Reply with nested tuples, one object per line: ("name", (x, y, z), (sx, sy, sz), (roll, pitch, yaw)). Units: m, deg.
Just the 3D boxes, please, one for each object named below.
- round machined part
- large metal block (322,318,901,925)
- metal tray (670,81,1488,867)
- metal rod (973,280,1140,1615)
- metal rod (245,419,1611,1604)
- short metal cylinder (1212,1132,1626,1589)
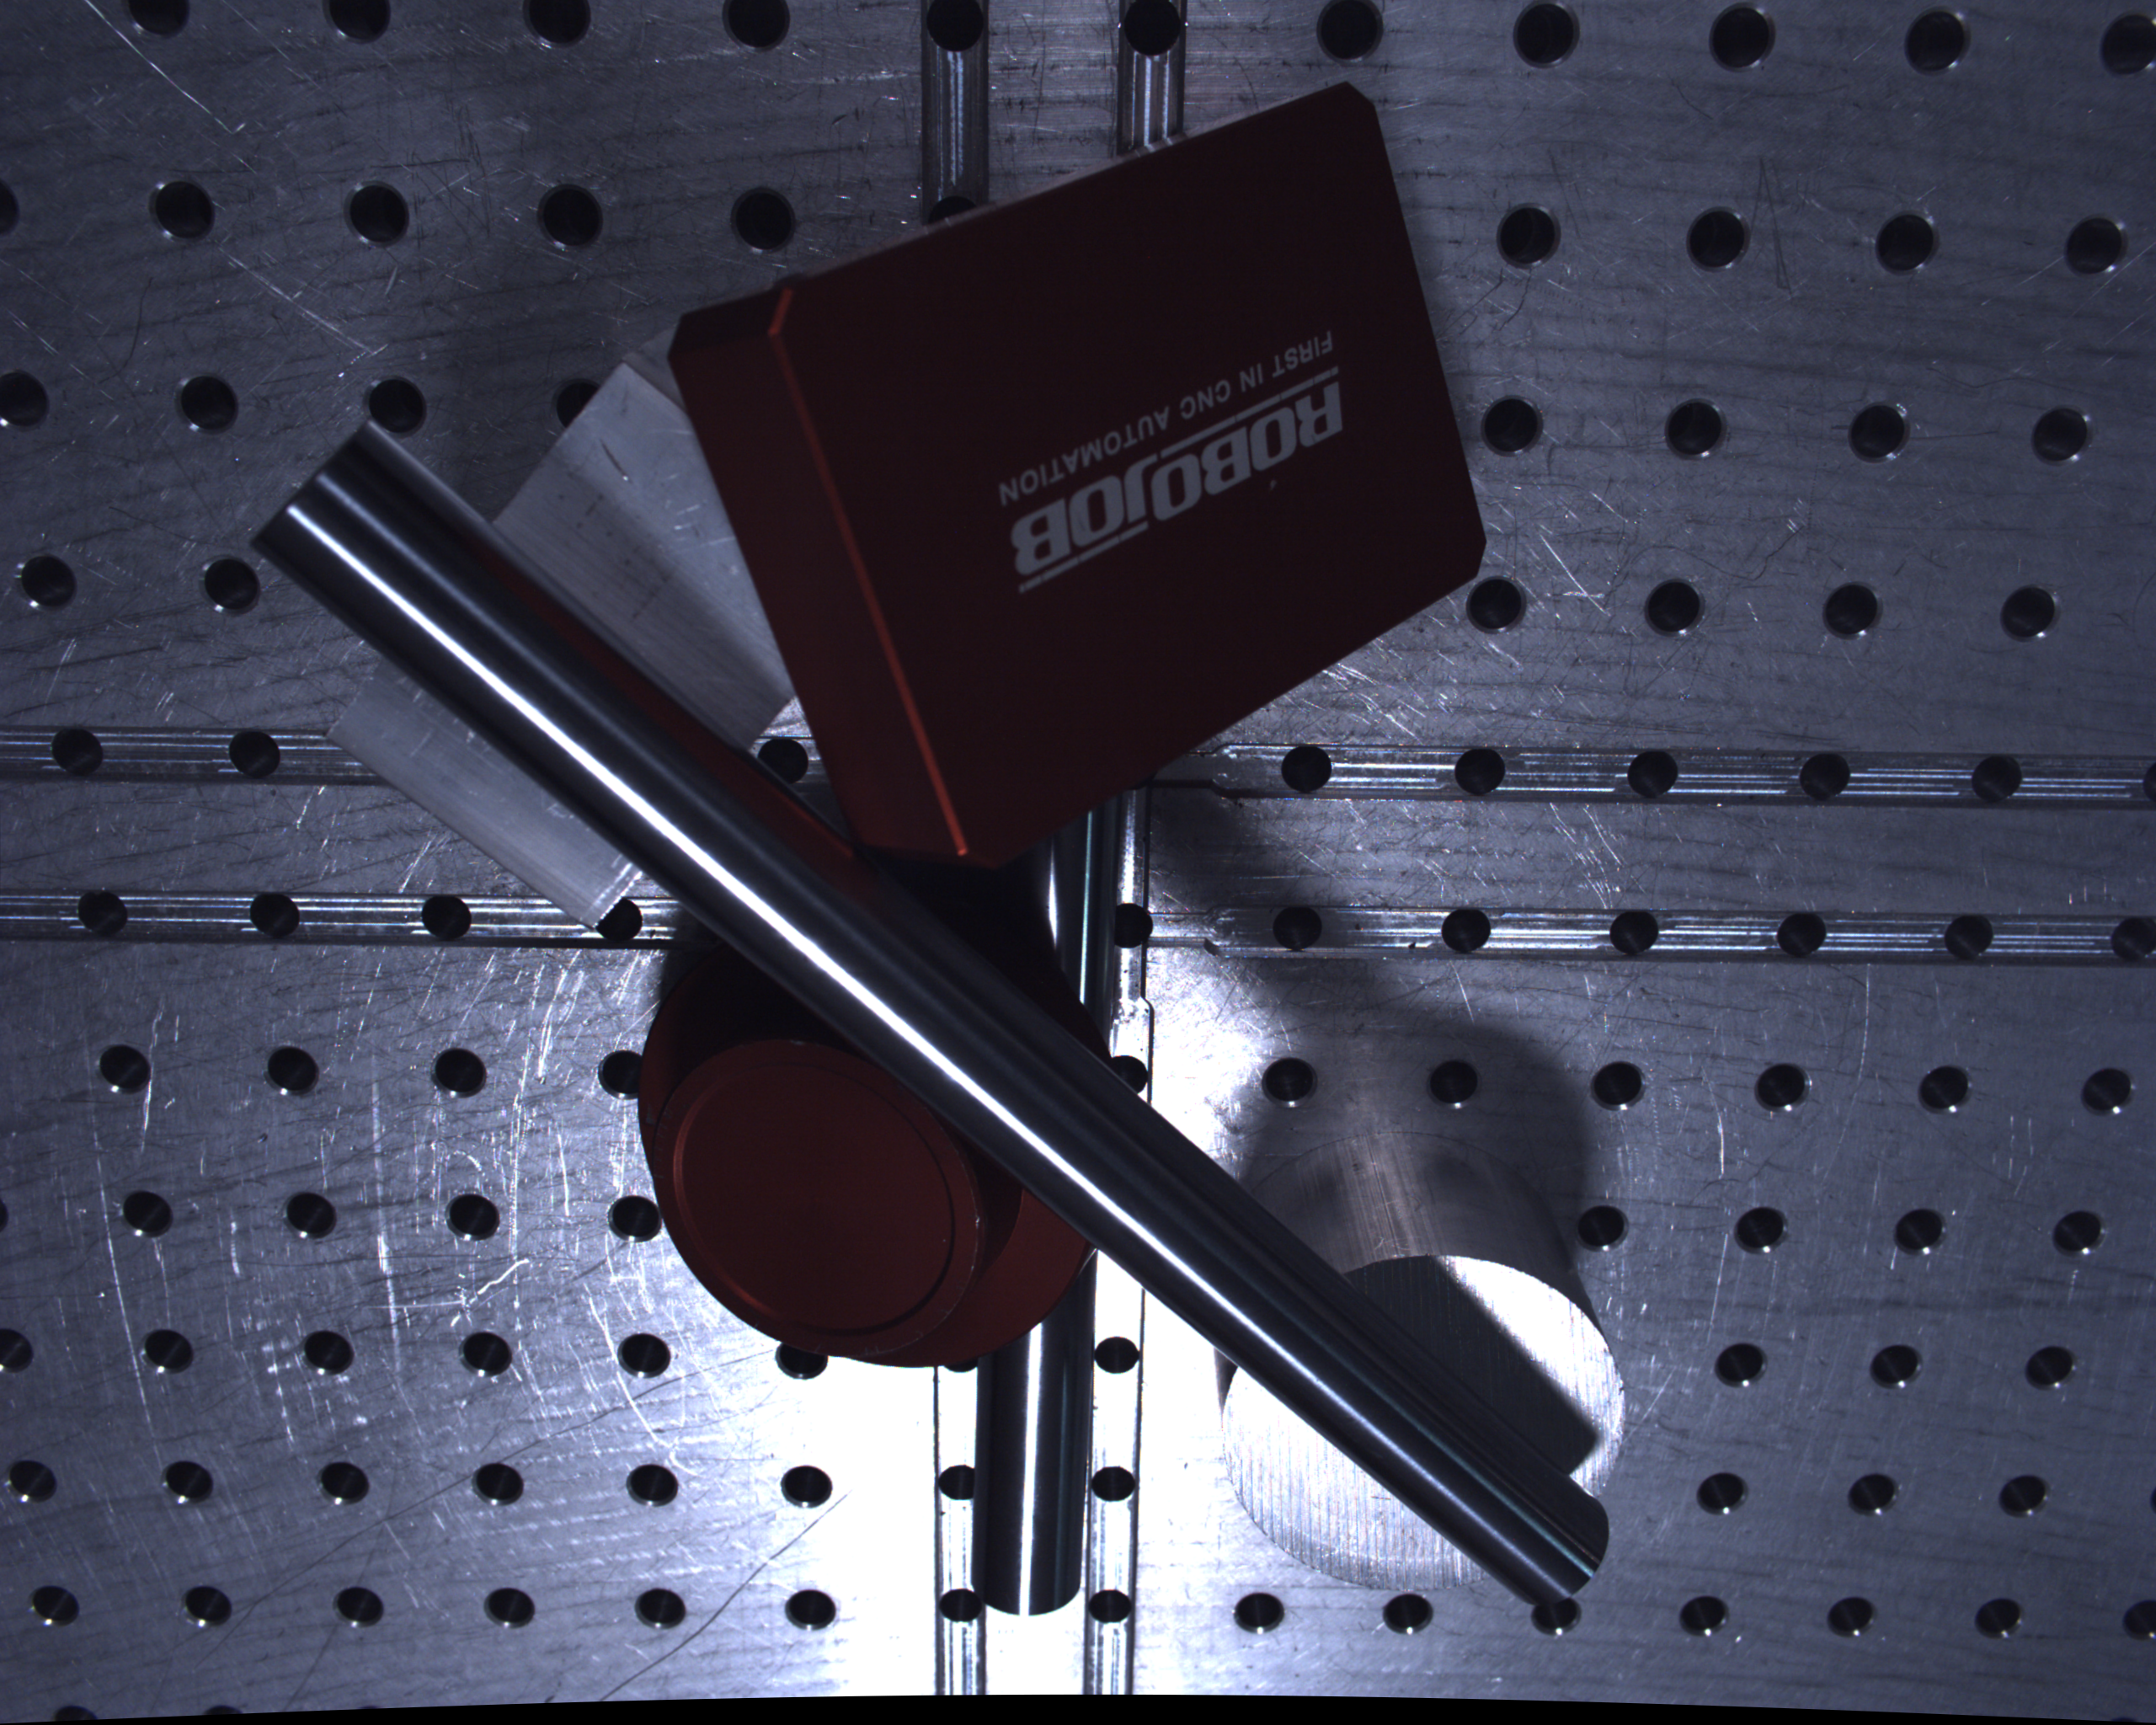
("round machined part", (-0.042, 0.058, 0.408), (0.098, 0.042, 0.097), (6, 111, 16))
("large metal block", (-0.076, -0.047, 0.367), (0.050, 0.080, 0.080), (40, 105, -14))
("metal tray", (0.008, -0.067, 0.344), (0.131, 0.030, 0.090), (-32, 113, -34))
("metal rod", (-0.005, 0.023, 0.421), (0.025, 0.025, 0.298), (2, 110, -1))
("metal rod", (-0.007, 0.040, 0.353), (0.025, 0.025, 0.300), (-42, 113, 13))
("short metal cylinder", (0.069, 0.104, 0.440), (0.081, 0.050, 0.079), (0, 110, -1))
